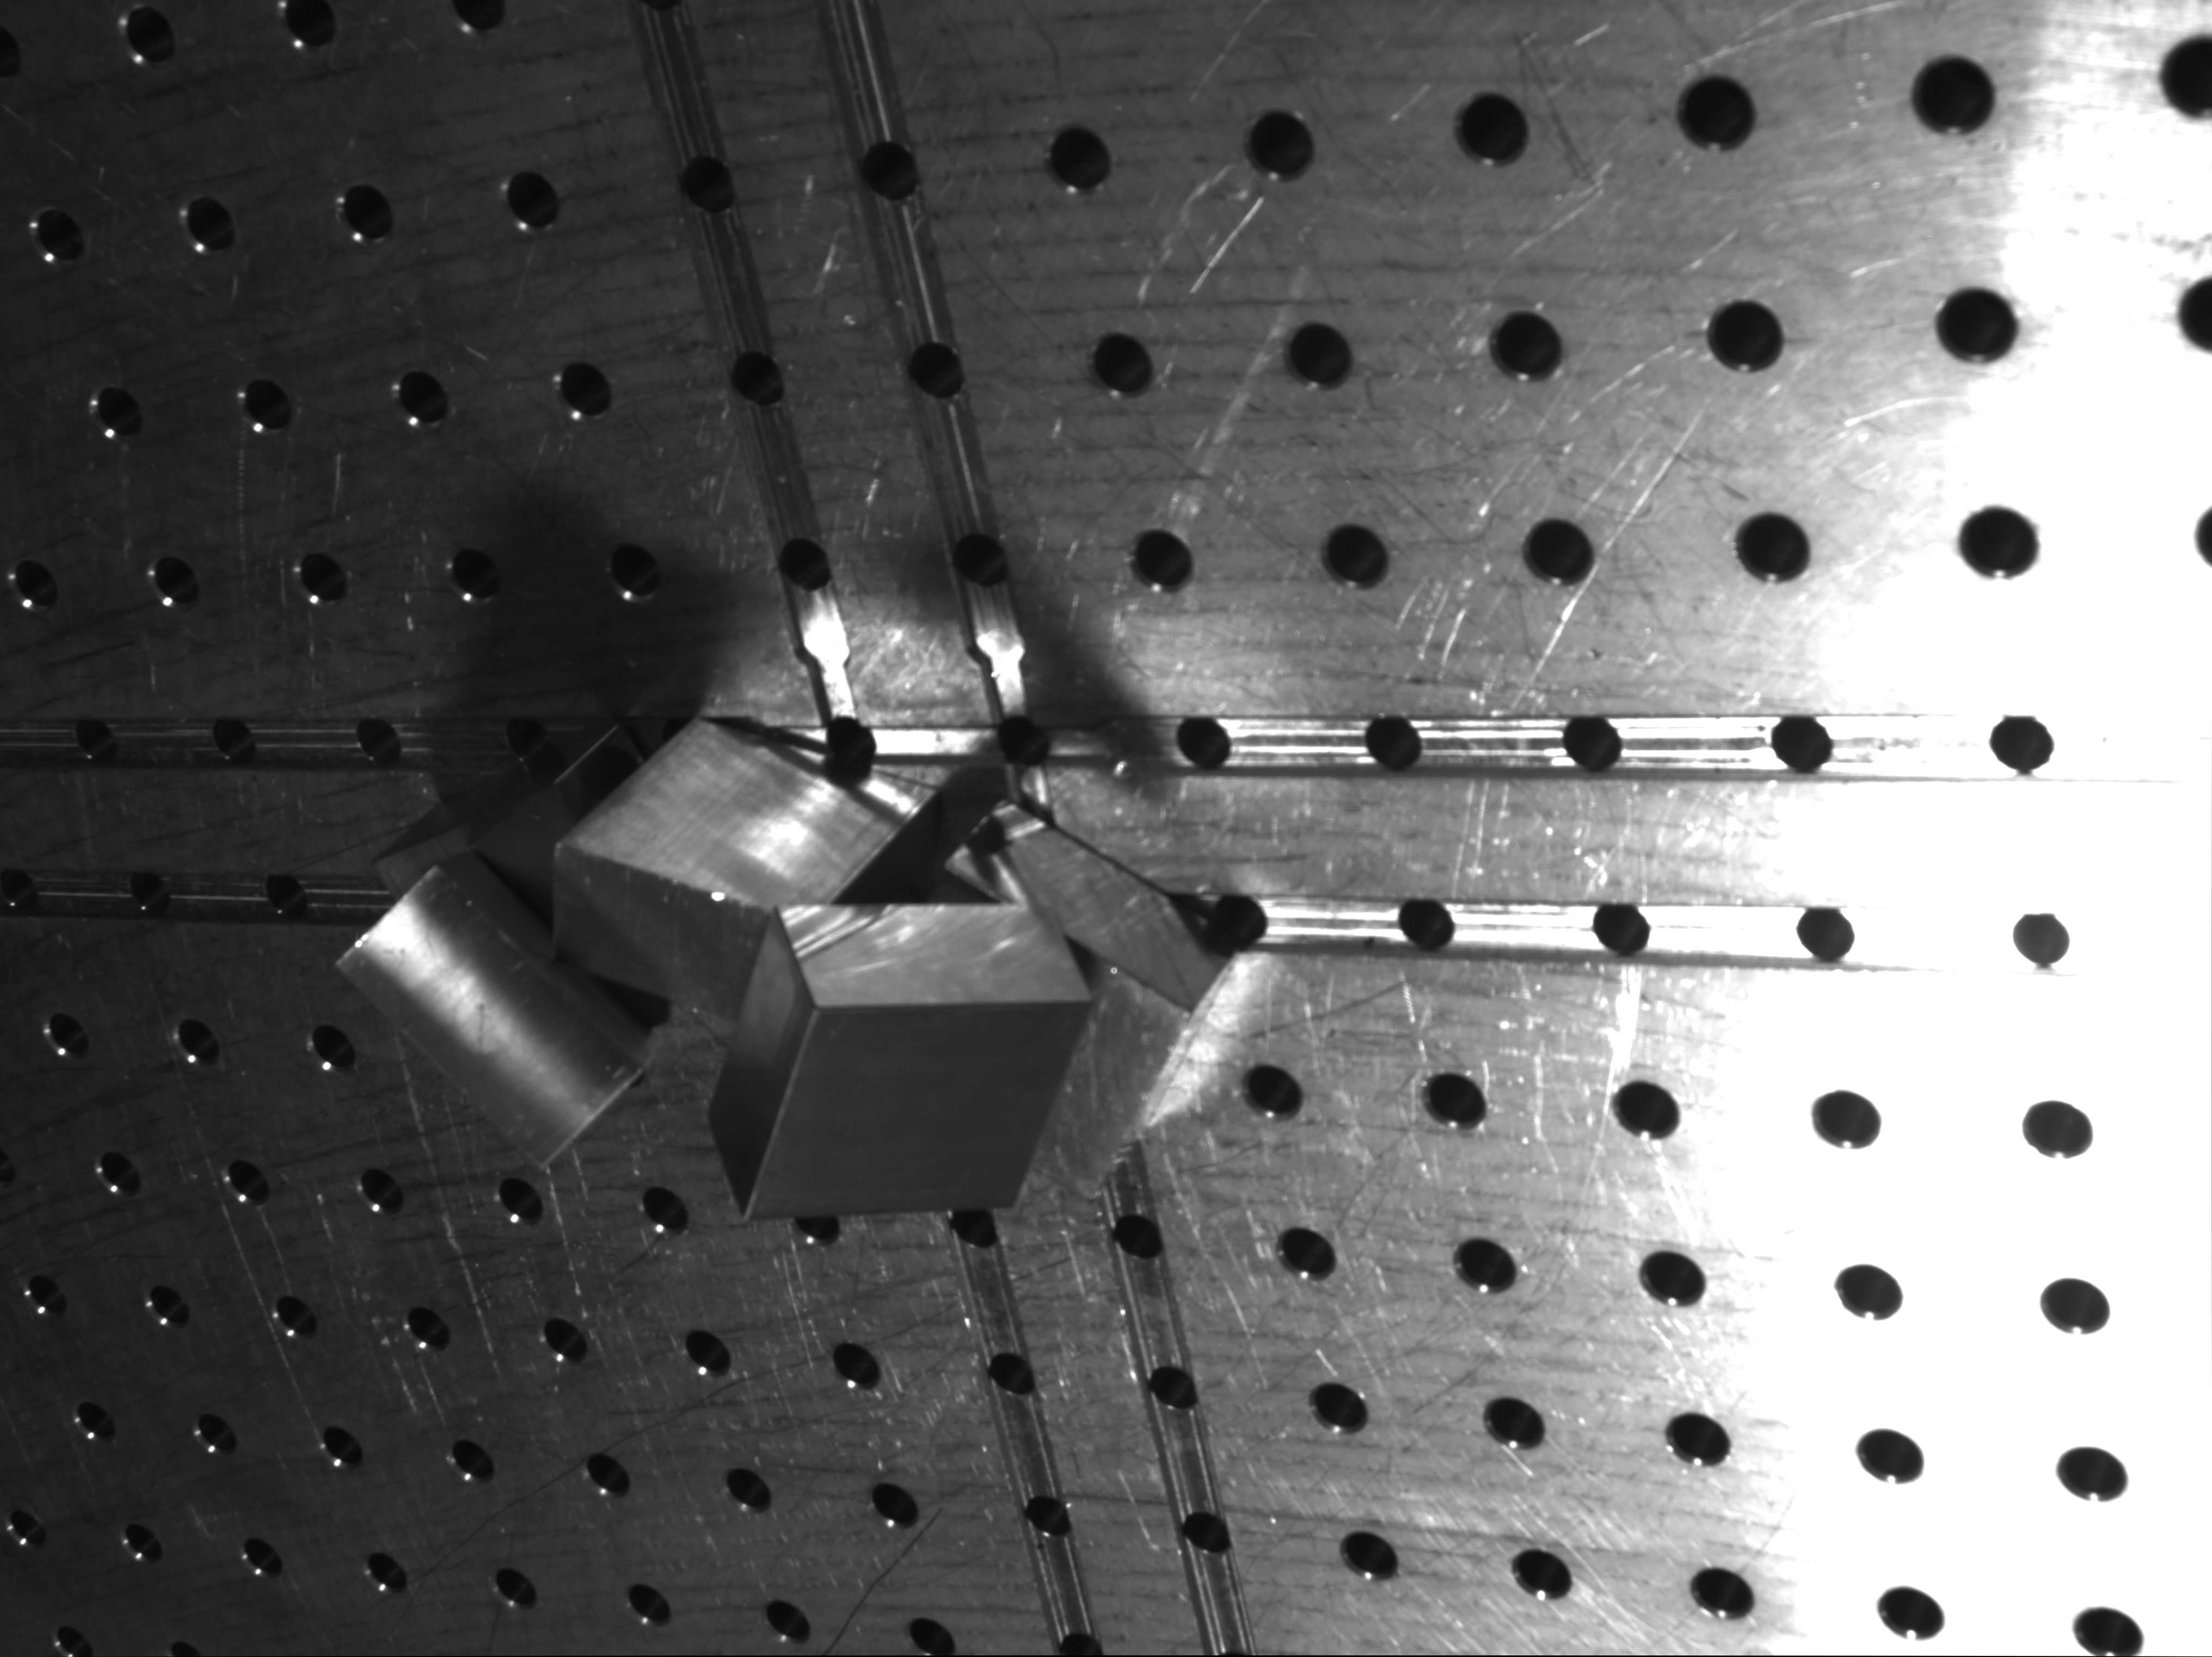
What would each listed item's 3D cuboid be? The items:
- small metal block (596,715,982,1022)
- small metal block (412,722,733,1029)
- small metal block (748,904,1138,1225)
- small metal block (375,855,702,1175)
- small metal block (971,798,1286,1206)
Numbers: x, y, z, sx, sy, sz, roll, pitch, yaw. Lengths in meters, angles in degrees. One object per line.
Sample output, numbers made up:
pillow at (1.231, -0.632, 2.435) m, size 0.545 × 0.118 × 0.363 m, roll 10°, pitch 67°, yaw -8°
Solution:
small metal block at (-0.056, 0.009, 0.651) m, size 0.050 × 0.050 × 0.025 m, roll 17°, pitch 125°, yaw 17°
small metal block at (-0.094, 0.014, 0.690) m, size 0.050 × 0.025 × 0.050 m, roll -21°, pitch 107°, yaw 34°
small metal block at (-0.028, 0.040, 0.623) m, size 0.050 × 0.025 × 0.050 m, roll 0°, pitch 131°, yaw -26°
small metal block at (-0.100, 0.032, 0.652) m, size 0.025 × 0.050 × 0.050 m, roll -45°, pitch 94°, yaw 0°
small metal block at (-0.003, 0.031, 0.655) m, size 0.050 × 0.025 × 0.050 m, roll 31°, pitch 128°, yaw 7°
